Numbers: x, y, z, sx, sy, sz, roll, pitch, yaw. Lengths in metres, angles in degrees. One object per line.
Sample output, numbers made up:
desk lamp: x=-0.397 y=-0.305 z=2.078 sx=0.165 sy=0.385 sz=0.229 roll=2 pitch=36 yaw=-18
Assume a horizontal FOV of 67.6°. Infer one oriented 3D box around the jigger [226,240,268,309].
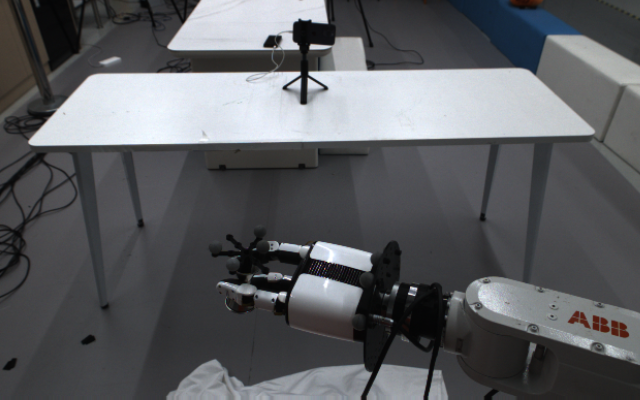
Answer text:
jigger: x=-0.102 y=0.112 z=0.648 sx=0.043 sy=0.071 sz=0.043 roll=9 pitch=30 yaw=-5
